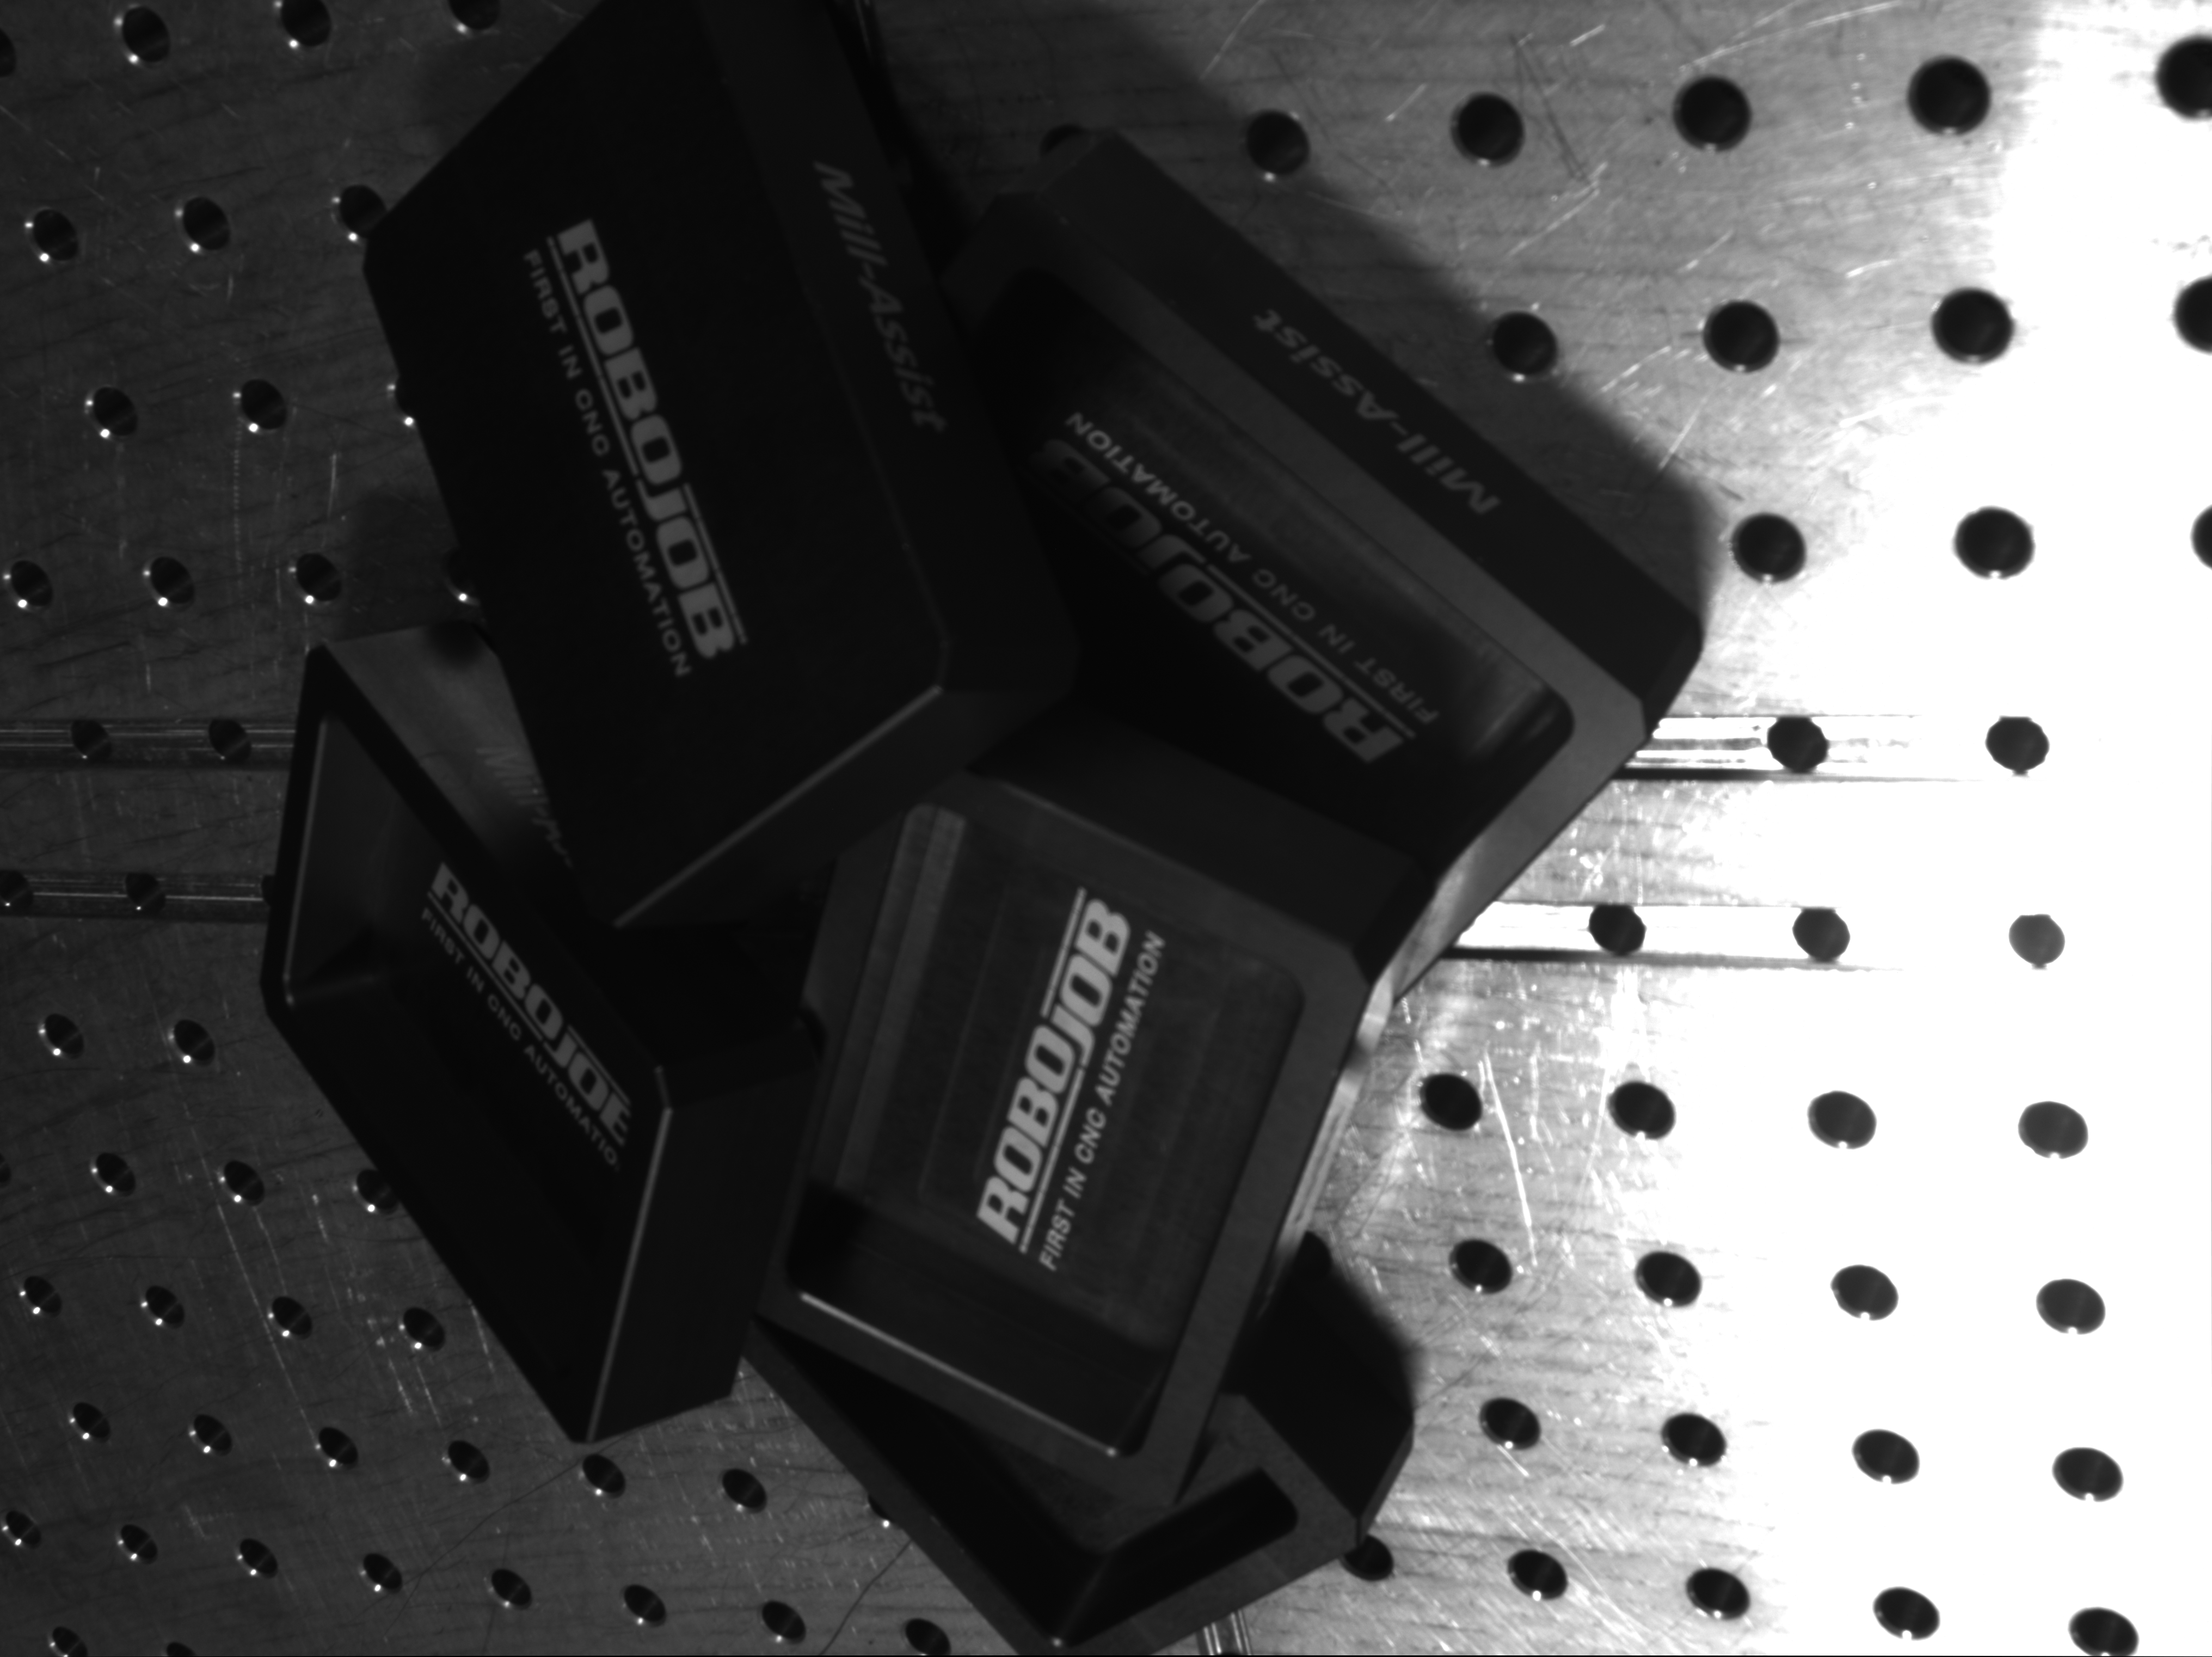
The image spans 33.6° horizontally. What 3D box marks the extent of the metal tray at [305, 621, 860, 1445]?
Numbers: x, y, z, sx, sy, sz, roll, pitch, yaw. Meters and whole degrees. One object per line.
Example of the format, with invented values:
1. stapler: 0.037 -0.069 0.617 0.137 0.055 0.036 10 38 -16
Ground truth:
1. metal tray: -0.099 0.035 0.662 0.130 0.030 0.090 47 135 34

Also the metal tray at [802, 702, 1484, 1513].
1. metal tray: 0.001 0.046 0.620 0.090 0.030 0.130 25 127 11

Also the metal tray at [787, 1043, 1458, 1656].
1. metal tray: -0.008 0.095 0.692 0.130 0.030 0.090 48 128 -7

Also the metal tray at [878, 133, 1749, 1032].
1. metal tray: 0.026 -0.037 0.595 0.130 0.030 0.090 40 128 0

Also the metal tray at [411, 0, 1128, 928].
1. metal tray: -0.057 -0.061 0.584 0.090 0.030 0.130 -34 70 37
